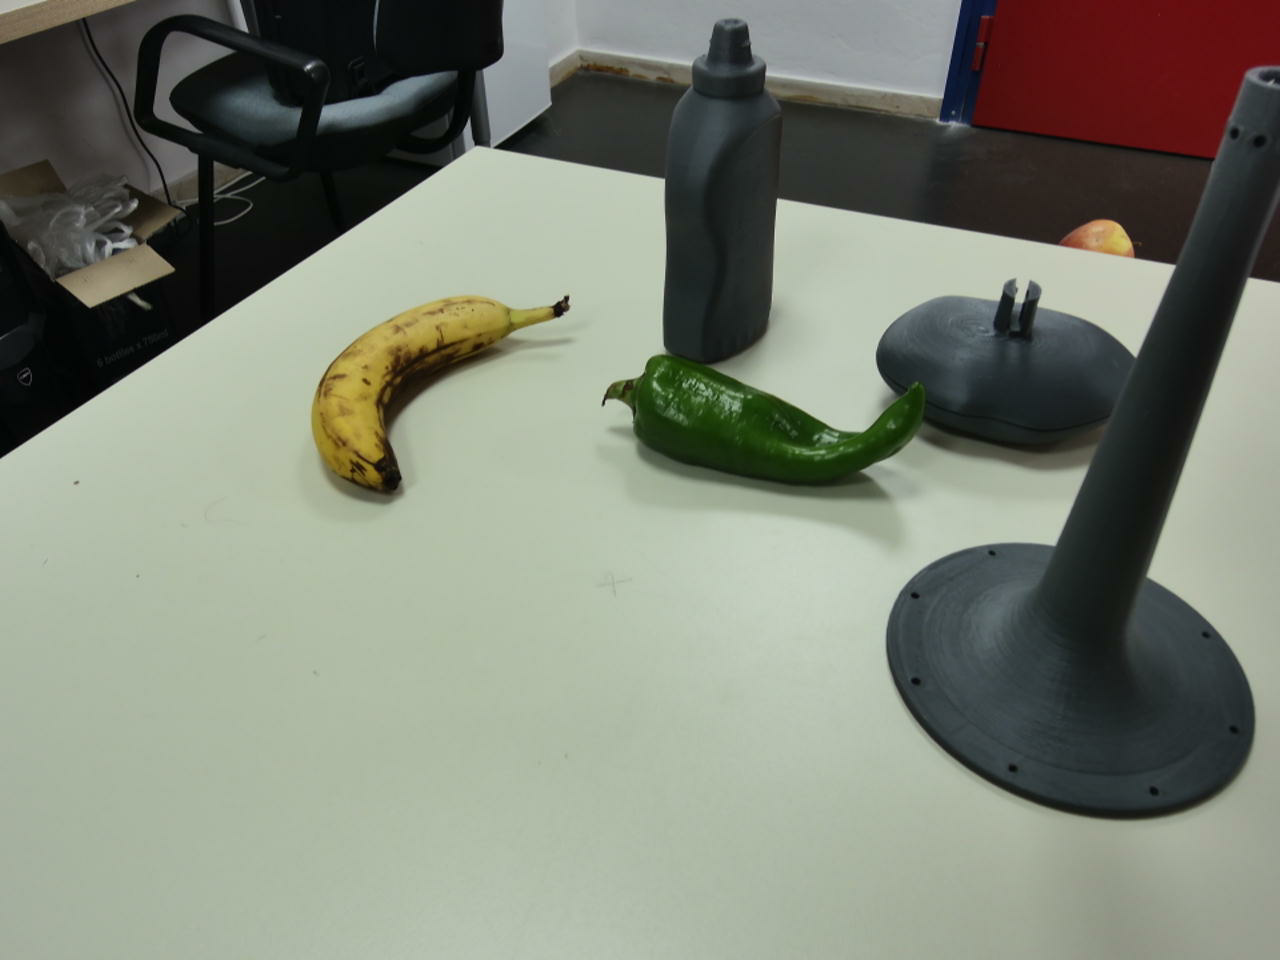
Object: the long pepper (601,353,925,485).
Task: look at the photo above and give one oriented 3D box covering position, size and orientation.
[{"bbox_3d":[0.059,-0.036,0.533,0.175,0.065,0.058,15,41,19],"label":"long pepper"}]
